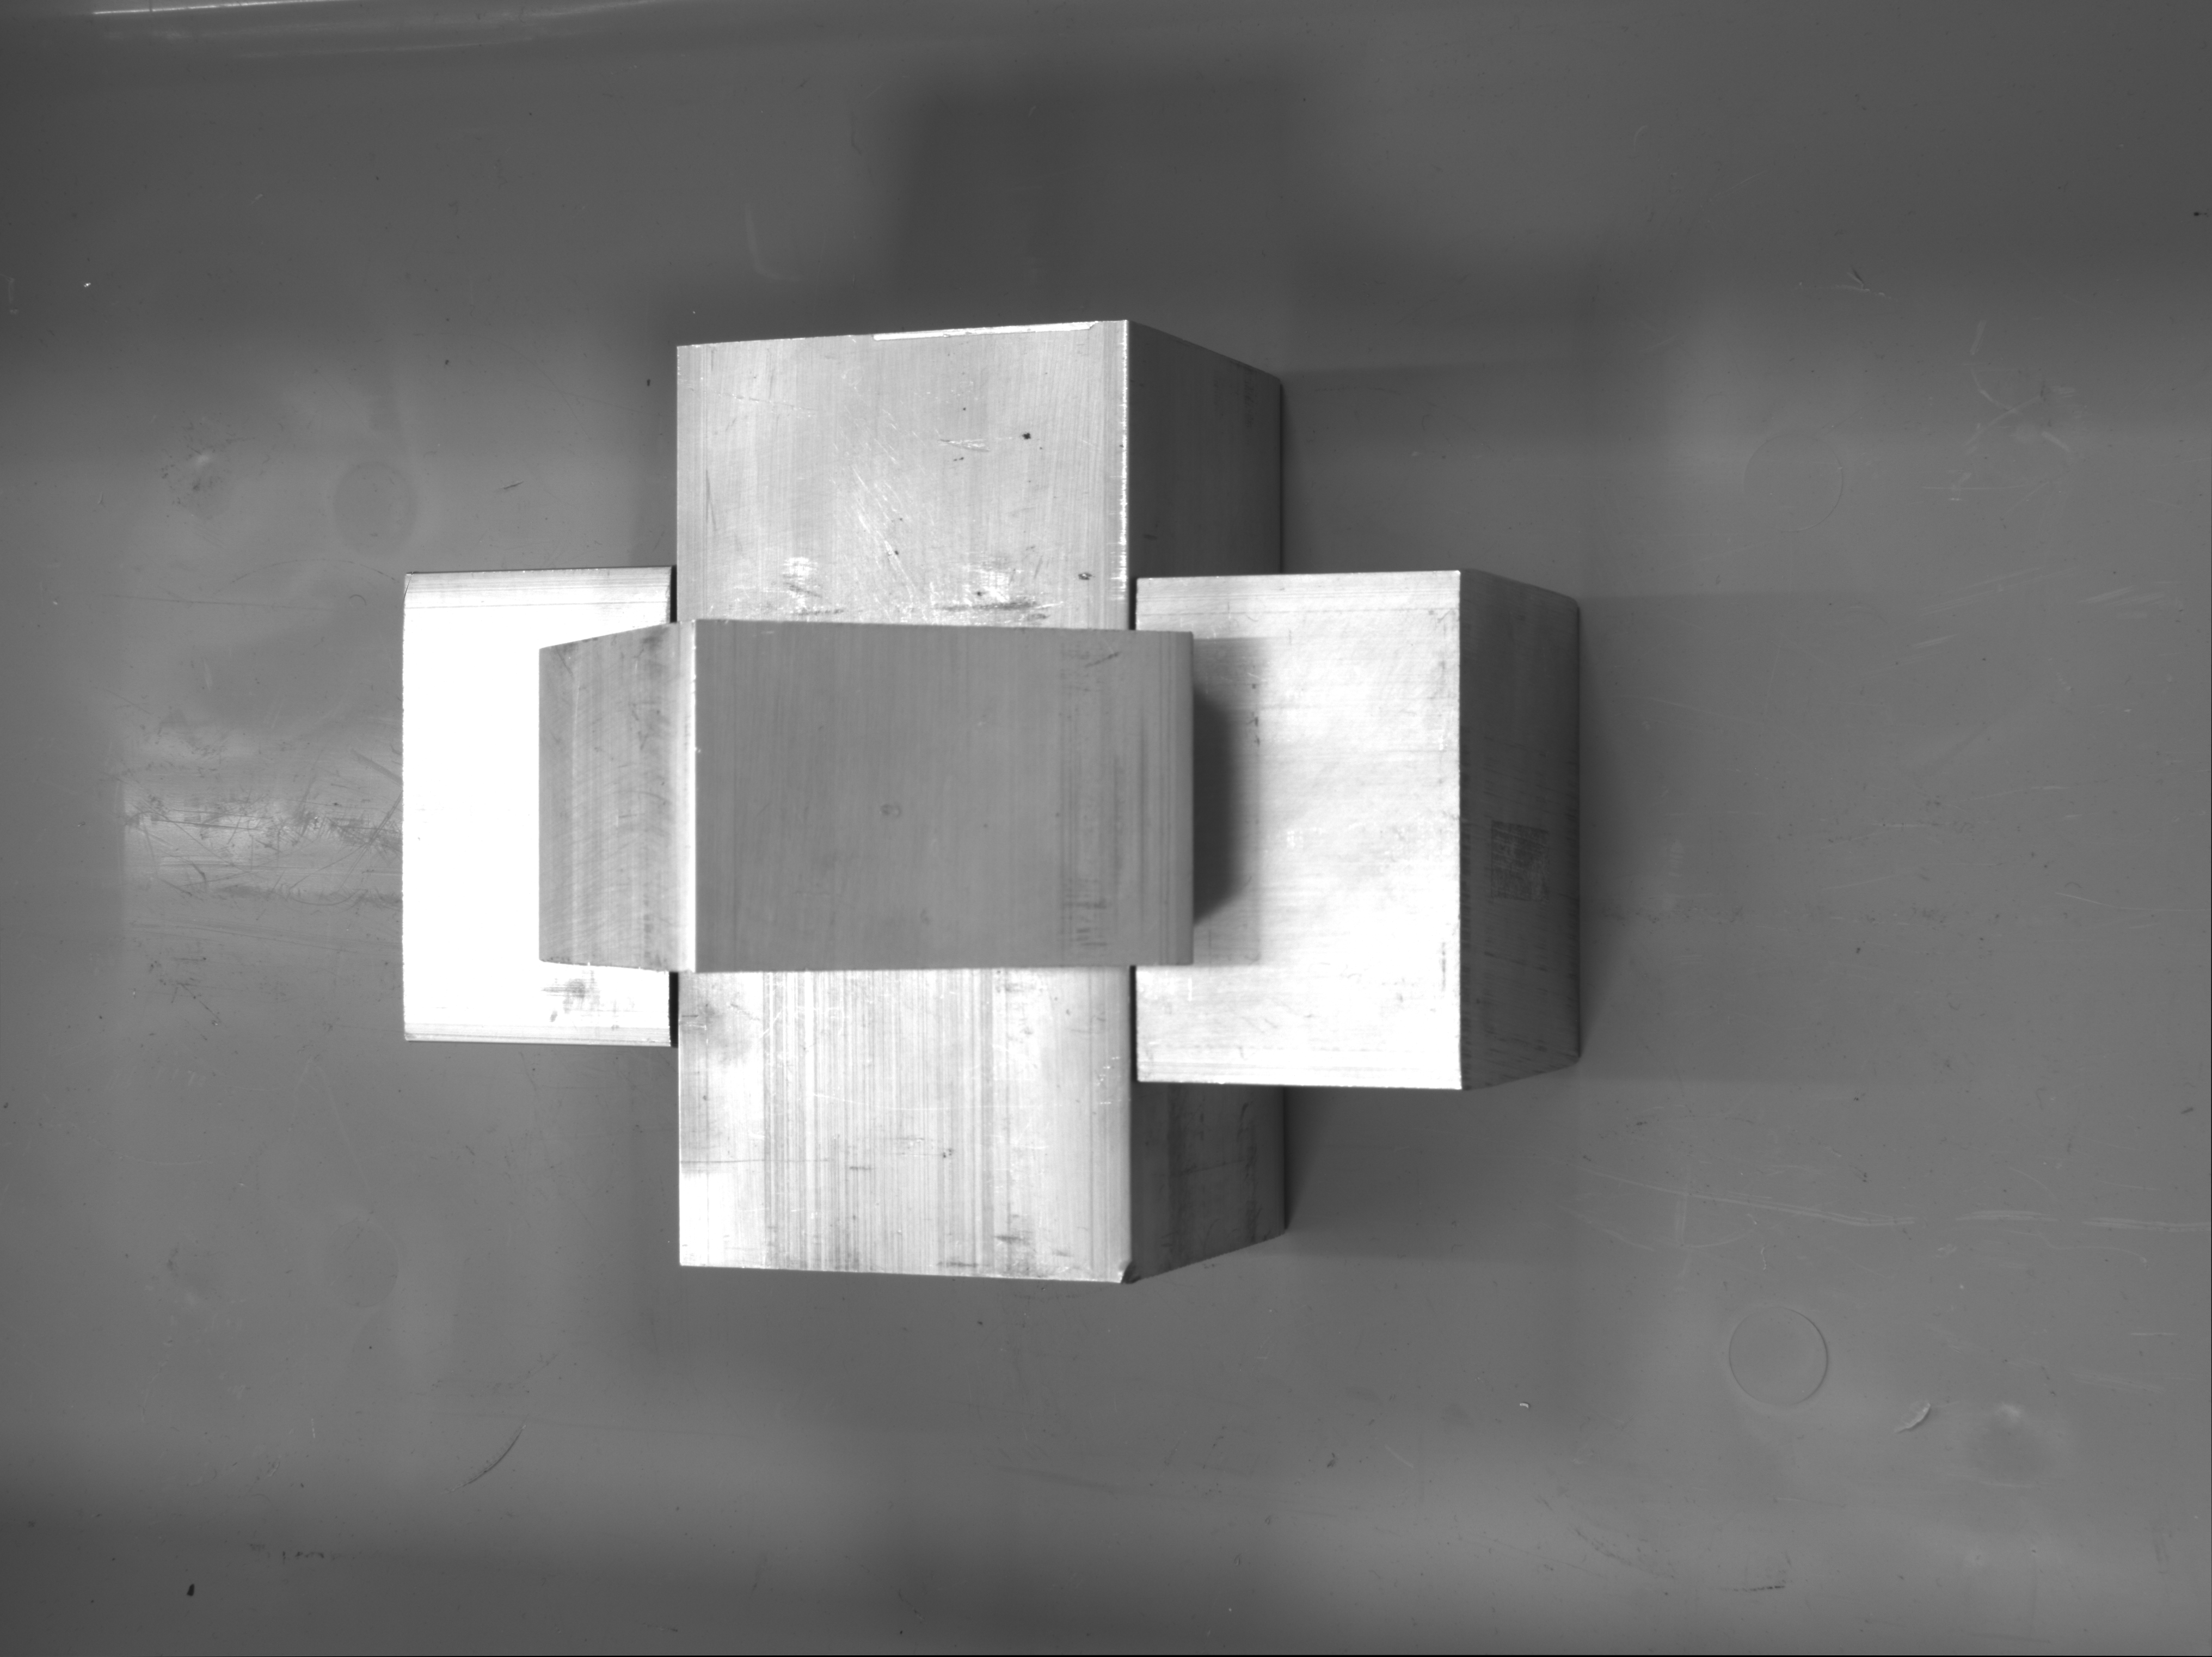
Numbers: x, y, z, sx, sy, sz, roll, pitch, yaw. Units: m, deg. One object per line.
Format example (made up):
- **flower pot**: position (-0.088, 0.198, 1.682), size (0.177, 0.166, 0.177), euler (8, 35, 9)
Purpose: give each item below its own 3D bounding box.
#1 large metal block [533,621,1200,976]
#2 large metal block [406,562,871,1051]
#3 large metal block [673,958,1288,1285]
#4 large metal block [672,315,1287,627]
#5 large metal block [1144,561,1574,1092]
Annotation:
- **large metal block**: position (-0.039, -0.004, 0.570), size (0.080, 0.080, 0.050), euler (0, 90, -25)
- **large metal block**: position (-0.080, -0.004, 0.646), size (0.050, 0.080, 0.080), euler (0, 90, 20)
- **large metal block**: position (-0.019, 0.046, 0.623), size (0.080, 0.080, 0.050), euler (0, 90, 20)
- **large metal block**: position (-0.019, -0.055, 0.623), size (0.080, 0.080, 0.050), euler (0, 90, 20)
- **large metal block**: position (0.043, 0.000, 0.598), size (0.050, 0.080, 0.080), euler (0, 90, 20)
